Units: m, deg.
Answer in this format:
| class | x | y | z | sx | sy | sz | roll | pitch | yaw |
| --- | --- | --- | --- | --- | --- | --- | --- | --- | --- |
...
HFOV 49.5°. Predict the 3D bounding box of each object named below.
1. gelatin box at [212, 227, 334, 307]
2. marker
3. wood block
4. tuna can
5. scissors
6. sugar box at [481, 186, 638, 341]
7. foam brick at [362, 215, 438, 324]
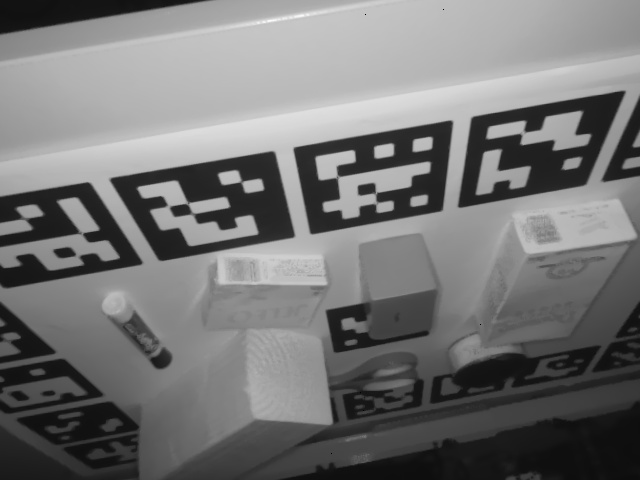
| class | x | y | z | sx | sy | sz | roll | pitch | yaw |
| --- | --- | --- | --- | --- | --- | --- | --- | --- | --- |
| gelatin box | -0.040 | 0.025 | 0.573 | 0.090 | 0.030 | 0.072 | 2 | 139 | -17 |
| marker | -0.145 | 0.064 | 0.602 | 0.020 | 0.020 | 0.120 | -9 | 140 | -2 |
| wood block | -0.092 | 0.163 | 0.690 | 0.091 | 0.091 | 0.203 | 21 | 132 | -35 |
| tuna can | 0.197 | 0.132 | 0.759 | 0.086 | 0.034 | 0.085 | -7 | 141 | -5 |
| scissors | 0.025 | 0.156 | 0.766 | 0.204 | 0.016 | 0.087 | -6 | 142 | -10 |
| sugar box | 0.208 | 0.027 | 0.627 | 0.093 | 0.045 | 0.175 | -6 | 142 | -5 |
| foam brick | 0.065 | 0.025 | 0.576 | 0.053 | 0.051 | 0.077 | -9 | 141 | -3 |
